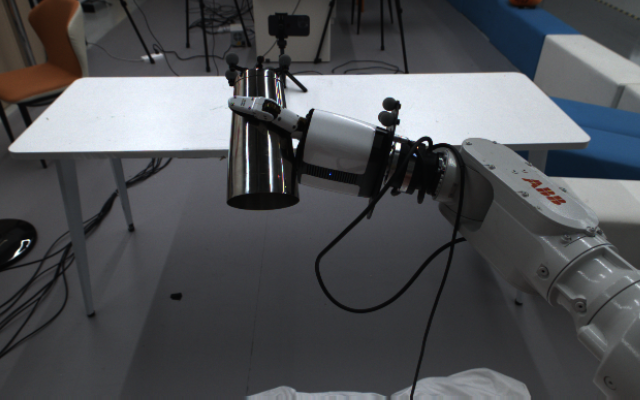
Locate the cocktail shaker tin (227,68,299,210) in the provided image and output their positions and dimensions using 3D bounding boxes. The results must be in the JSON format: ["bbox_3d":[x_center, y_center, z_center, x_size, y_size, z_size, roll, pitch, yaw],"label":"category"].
[{"bbox_3d":[-0.077,-0.079,0.631,0.093,0.093,0.170,-3,76,-7],"label":"cocktail shaker tin"}]
